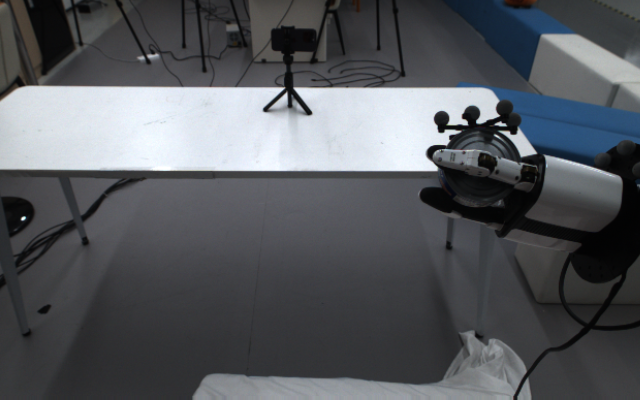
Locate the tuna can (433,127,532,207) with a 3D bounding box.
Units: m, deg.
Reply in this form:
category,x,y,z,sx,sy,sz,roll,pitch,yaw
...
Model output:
category,x,y,z,sx,sy,sz,roll,pitch,yaw
tuna can,0.177,-0.038,0.542,0.085,0.034,0.085,-1,75,4
